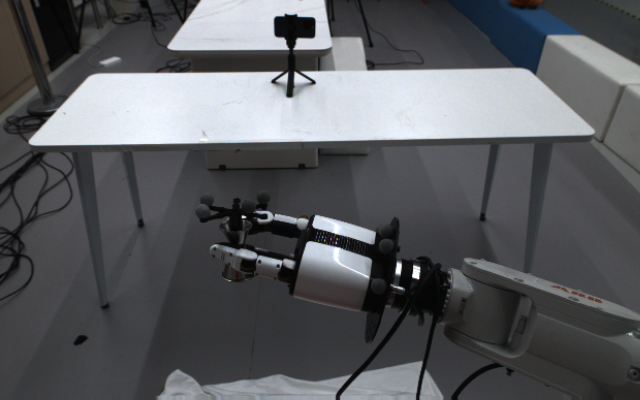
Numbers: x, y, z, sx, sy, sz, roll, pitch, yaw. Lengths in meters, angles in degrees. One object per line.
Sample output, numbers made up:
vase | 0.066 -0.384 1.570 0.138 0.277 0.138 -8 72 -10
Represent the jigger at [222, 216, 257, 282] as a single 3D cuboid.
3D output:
jigger | -0.103 0.063 0.605 0.043 0.071 0.043 0 21 0
